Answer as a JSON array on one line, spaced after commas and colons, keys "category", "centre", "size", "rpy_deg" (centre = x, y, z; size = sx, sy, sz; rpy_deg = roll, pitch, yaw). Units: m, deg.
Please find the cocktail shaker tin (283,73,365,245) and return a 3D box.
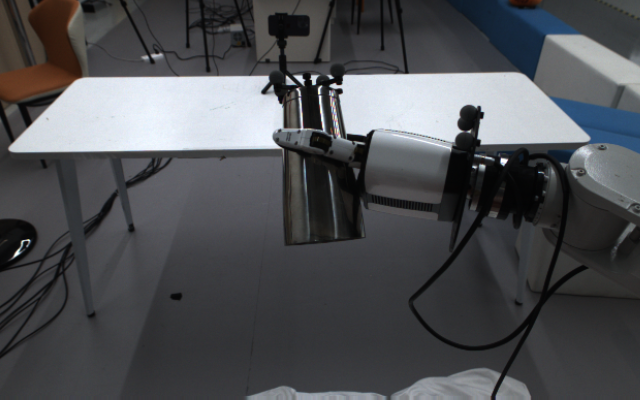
[{"category": "cocktail shaker tin", "centre": [-0.002, -0.037, 0.551], "size": [0.093, 0.170, 0.093], "rpy_deg": [-6, -7, -1]}]
